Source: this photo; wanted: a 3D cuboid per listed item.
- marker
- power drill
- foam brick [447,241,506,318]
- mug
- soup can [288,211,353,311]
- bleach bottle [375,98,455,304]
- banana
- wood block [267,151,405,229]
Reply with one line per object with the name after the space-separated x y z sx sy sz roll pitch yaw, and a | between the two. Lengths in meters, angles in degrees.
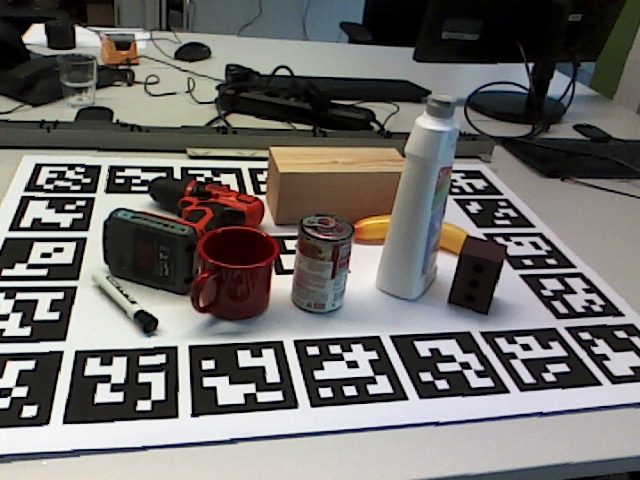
-0.223 0.073 0.707 0.019 0.019 0.122 -21 41 -36 | marker
-0.185 -0.018 0.840 0.185 0.057 0.187 17 30 10 | power drill
0.198 0.049 0.782 0.053 0.078 0.051 15 29 17 | foam brick
-0.107 0.041 0.718 0.094 0.081 0.117 24 37 23 | mug
-0.001 0.025 0.739 0.068 0.102 0.068 6 26 -3 | soup can
0.122 -0.050 0.759 0.068 0.250 0.102 14 29 13 | bleach bottle
0.123 -0.015 0.905 0.197 0.039 0.074 9 44 -1 | banana
0.029 -0.079 0.950 0.205 0.091 0.090 -1 32 -14 | wood block
